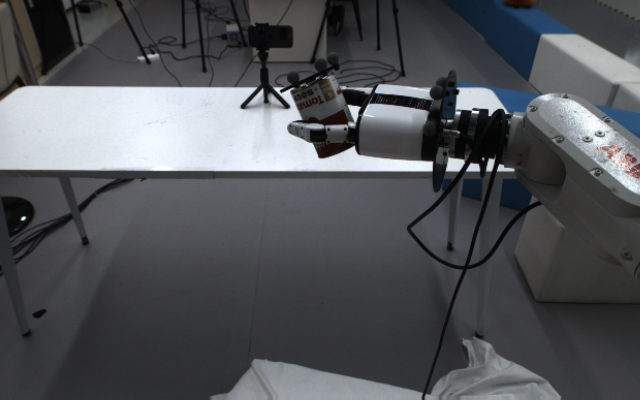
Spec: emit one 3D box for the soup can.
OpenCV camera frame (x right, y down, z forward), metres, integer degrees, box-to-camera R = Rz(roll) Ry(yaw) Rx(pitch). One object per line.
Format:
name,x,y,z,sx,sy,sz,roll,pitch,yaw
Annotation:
soup can,0.010,-0.118,0.680,0.067,0.101,0.067,-23,16,7
